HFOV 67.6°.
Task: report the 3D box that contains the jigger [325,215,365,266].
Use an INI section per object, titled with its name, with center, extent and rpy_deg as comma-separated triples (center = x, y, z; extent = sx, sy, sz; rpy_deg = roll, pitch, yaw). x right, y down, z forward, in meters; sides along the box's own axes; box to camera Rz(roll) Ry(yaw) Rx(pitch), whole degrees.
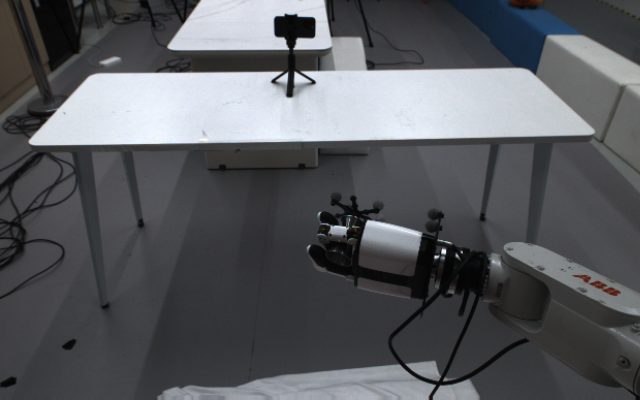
[jigger]
center = 0.043, 0.061, 0.739
extent = 0.043, 0.043, 0.071
rpy_deg = 13, 58, 15
